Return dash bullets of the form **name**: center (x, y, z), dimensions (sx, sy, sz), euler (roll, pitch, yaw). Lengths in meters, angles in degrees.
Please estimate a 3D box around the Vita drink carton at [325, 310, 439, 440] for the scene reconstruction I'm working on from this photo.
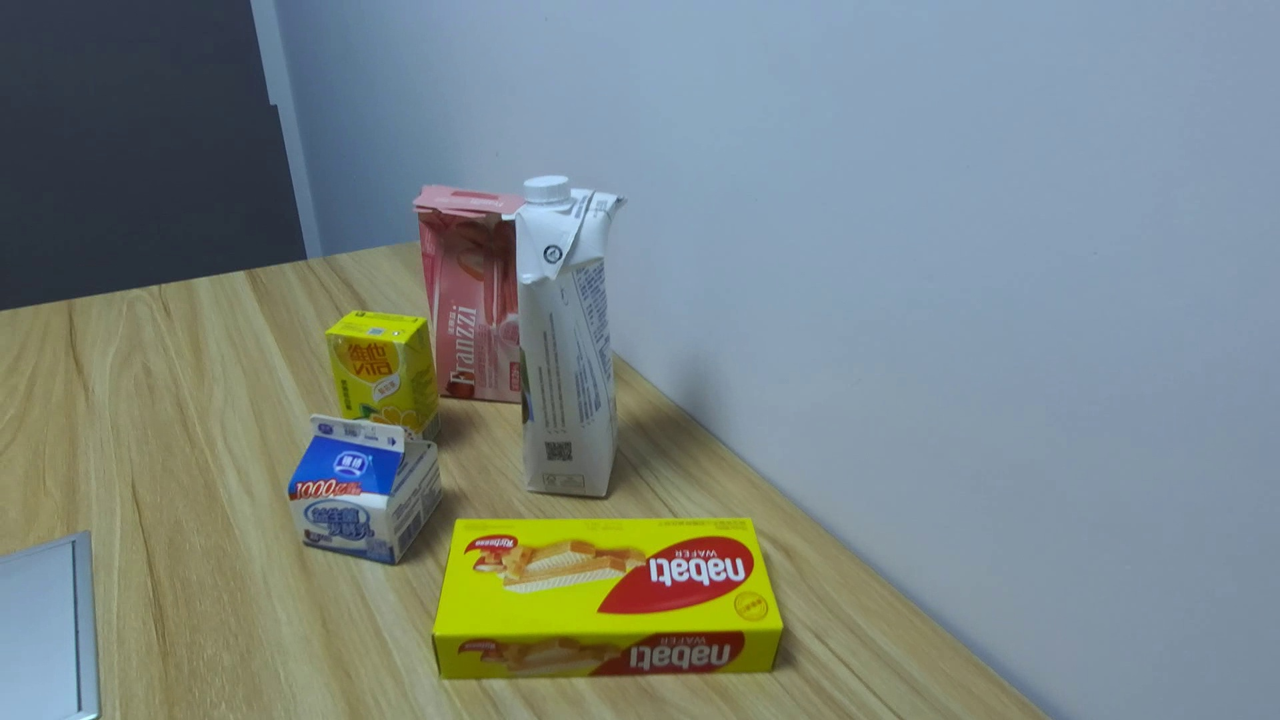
- **Vita drink carton**: center (-0.207, 0.019, 0.566), dimensions (0.076, 0.109, 0.043), euler (8, 31, 7)

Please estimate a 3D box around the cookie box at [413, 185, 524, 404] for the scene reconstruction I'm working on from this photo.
- **cookie box**: center (-0.138, -0.051, 0.620), dimensions (0.118, 0.184, 0.055), euler (6, 32, 4)

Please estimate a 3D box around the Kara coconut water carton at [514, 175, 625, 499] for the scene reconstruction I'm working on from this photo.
- **Kara coconut water carton**: center (-0.050, -0.013, 0.512), dimensions (0.069, 0.238, 0.115), euler (4, 31, 5)

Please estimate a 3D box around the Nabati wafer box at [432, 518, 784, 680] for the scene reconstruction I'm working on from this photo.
- **Nabati wafer box**: center (-0.020, 0.146, 0.444), dimensions (0.203, 0.042, 0.092), euler (1, 31, -4)

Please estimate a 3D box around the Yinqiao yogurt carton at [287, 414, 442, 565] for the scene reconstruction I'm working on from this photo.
- **Yinqiao yogurt carton**: center (-0.188, 0.078, 0.485), dimensions (0.075, 0.092, 0.074), euler (8, 32, 9)
